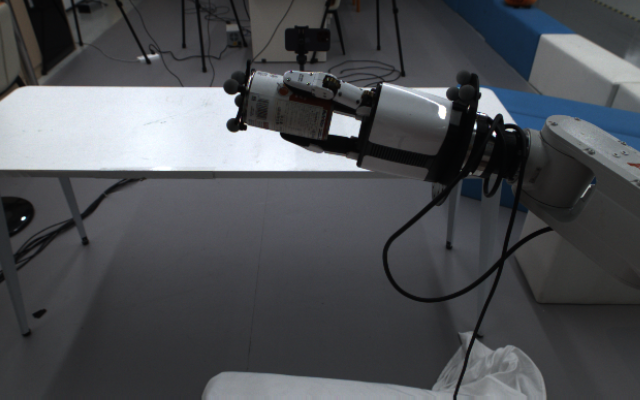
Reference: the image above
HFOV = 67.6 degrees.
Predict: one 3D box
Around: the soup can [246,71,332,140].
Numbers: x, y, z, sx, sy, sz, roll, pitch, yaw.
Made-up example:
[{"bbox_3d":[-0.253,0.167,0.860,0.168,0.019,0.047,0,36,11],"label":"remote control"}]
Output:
[{"bbox_3d":[-0.033,-0.112,0.581,0.101,0.067,0.067,12,35,-1],"label":"soup can"}]
